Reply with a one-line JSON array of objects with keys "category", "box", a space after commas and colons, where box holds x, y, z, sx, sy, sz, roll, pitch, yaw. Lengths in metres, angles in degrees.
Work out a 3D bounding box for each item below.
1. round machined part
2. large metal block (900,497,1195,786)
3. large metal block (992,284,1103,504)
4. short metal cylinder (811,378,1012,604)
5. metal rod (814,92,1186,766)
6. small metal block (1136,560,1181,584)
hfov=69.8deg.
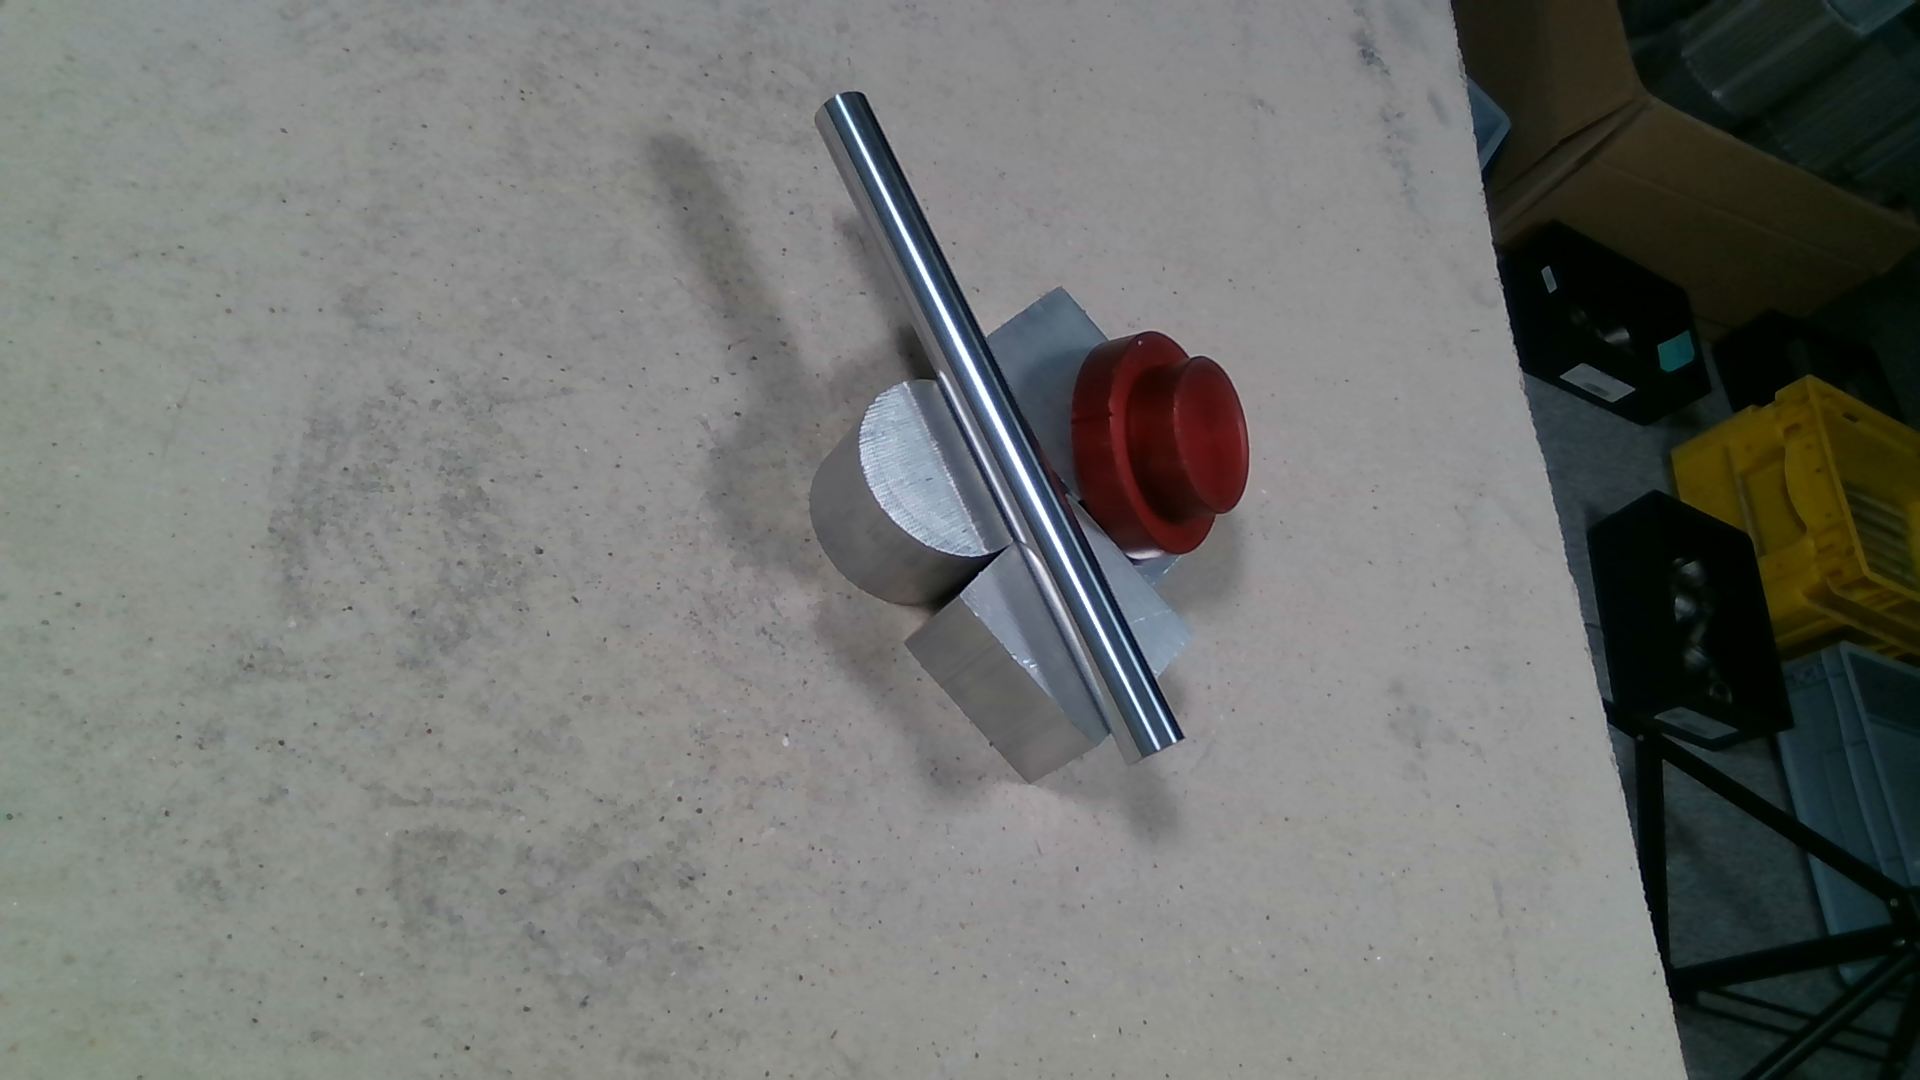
[{"category": "round machined part", "box": [0.092, -0.042, 0.597, 0.098, 0.042, 0.098, 13, 73, -52]}, {"category": "large metal block", "box": [0.037, 0.040, 0.571, 0.080, 0.050, 0.080, 49, 51, 0]}, {"category": "large metal block", "box": [0.036, -0.056, 0.621, 0.080, 0.050, 0.080, 49, 51, 0]}, {"category": "short metal cylinder", "box": [-0.016, -0.020, 0.570, 0.080, 0.050, 0.080, 14, 59, -25]}, {"category": "metal rod", "box": [0.012, -0.051, 0.556, 0.025, 0.025, 0.299, -16, 74, -36]}, {"category": "small metal block", "box": [0.065, 0.006, 0.622, 0.050, 0.025, 0.050, 50, 51, 1]}]
